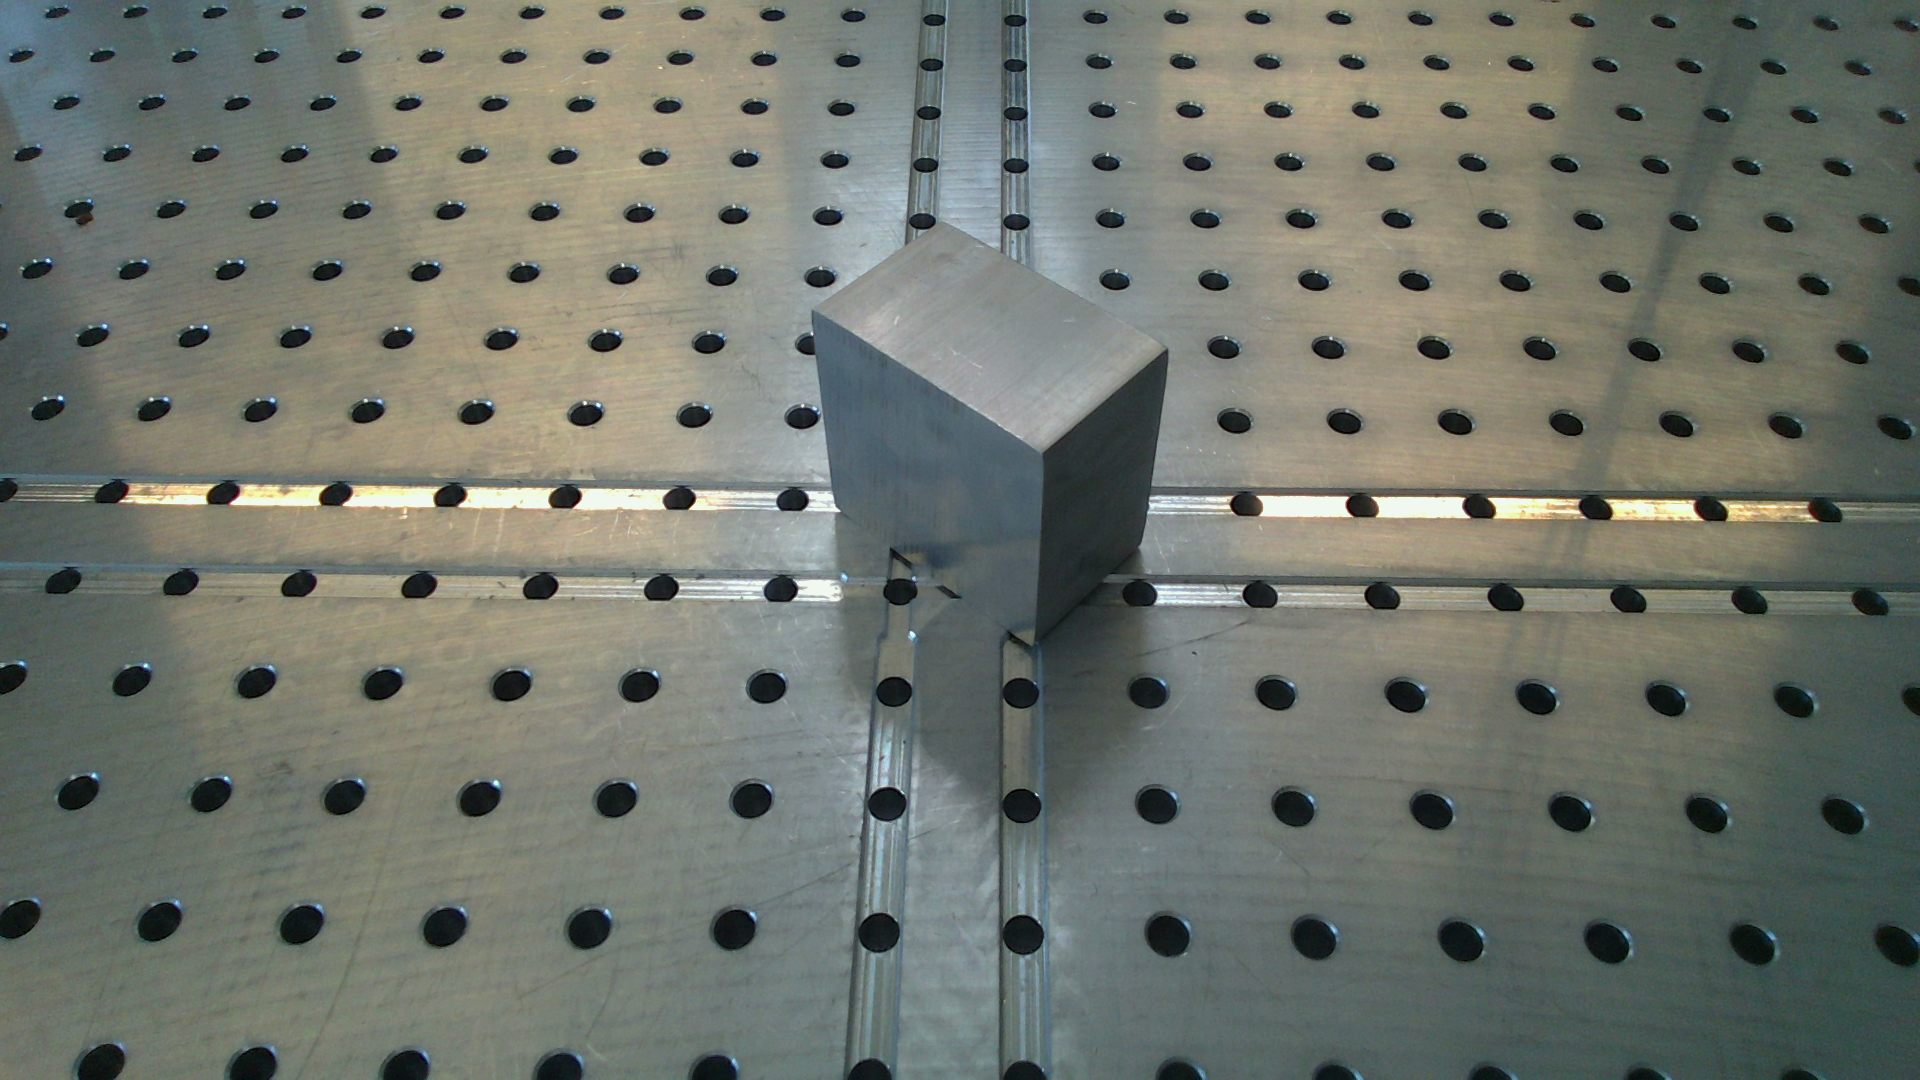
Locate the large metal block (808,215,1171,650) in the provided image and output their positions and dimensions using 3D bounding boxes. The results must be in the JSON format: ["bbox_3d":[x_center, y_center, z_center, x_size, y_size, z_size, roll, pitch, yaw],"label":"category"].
[{"bbox_3d":[0.007,-0.030,0.383,0.080,0.080,0.050,34,58,25],"label":"large metal block"}]
